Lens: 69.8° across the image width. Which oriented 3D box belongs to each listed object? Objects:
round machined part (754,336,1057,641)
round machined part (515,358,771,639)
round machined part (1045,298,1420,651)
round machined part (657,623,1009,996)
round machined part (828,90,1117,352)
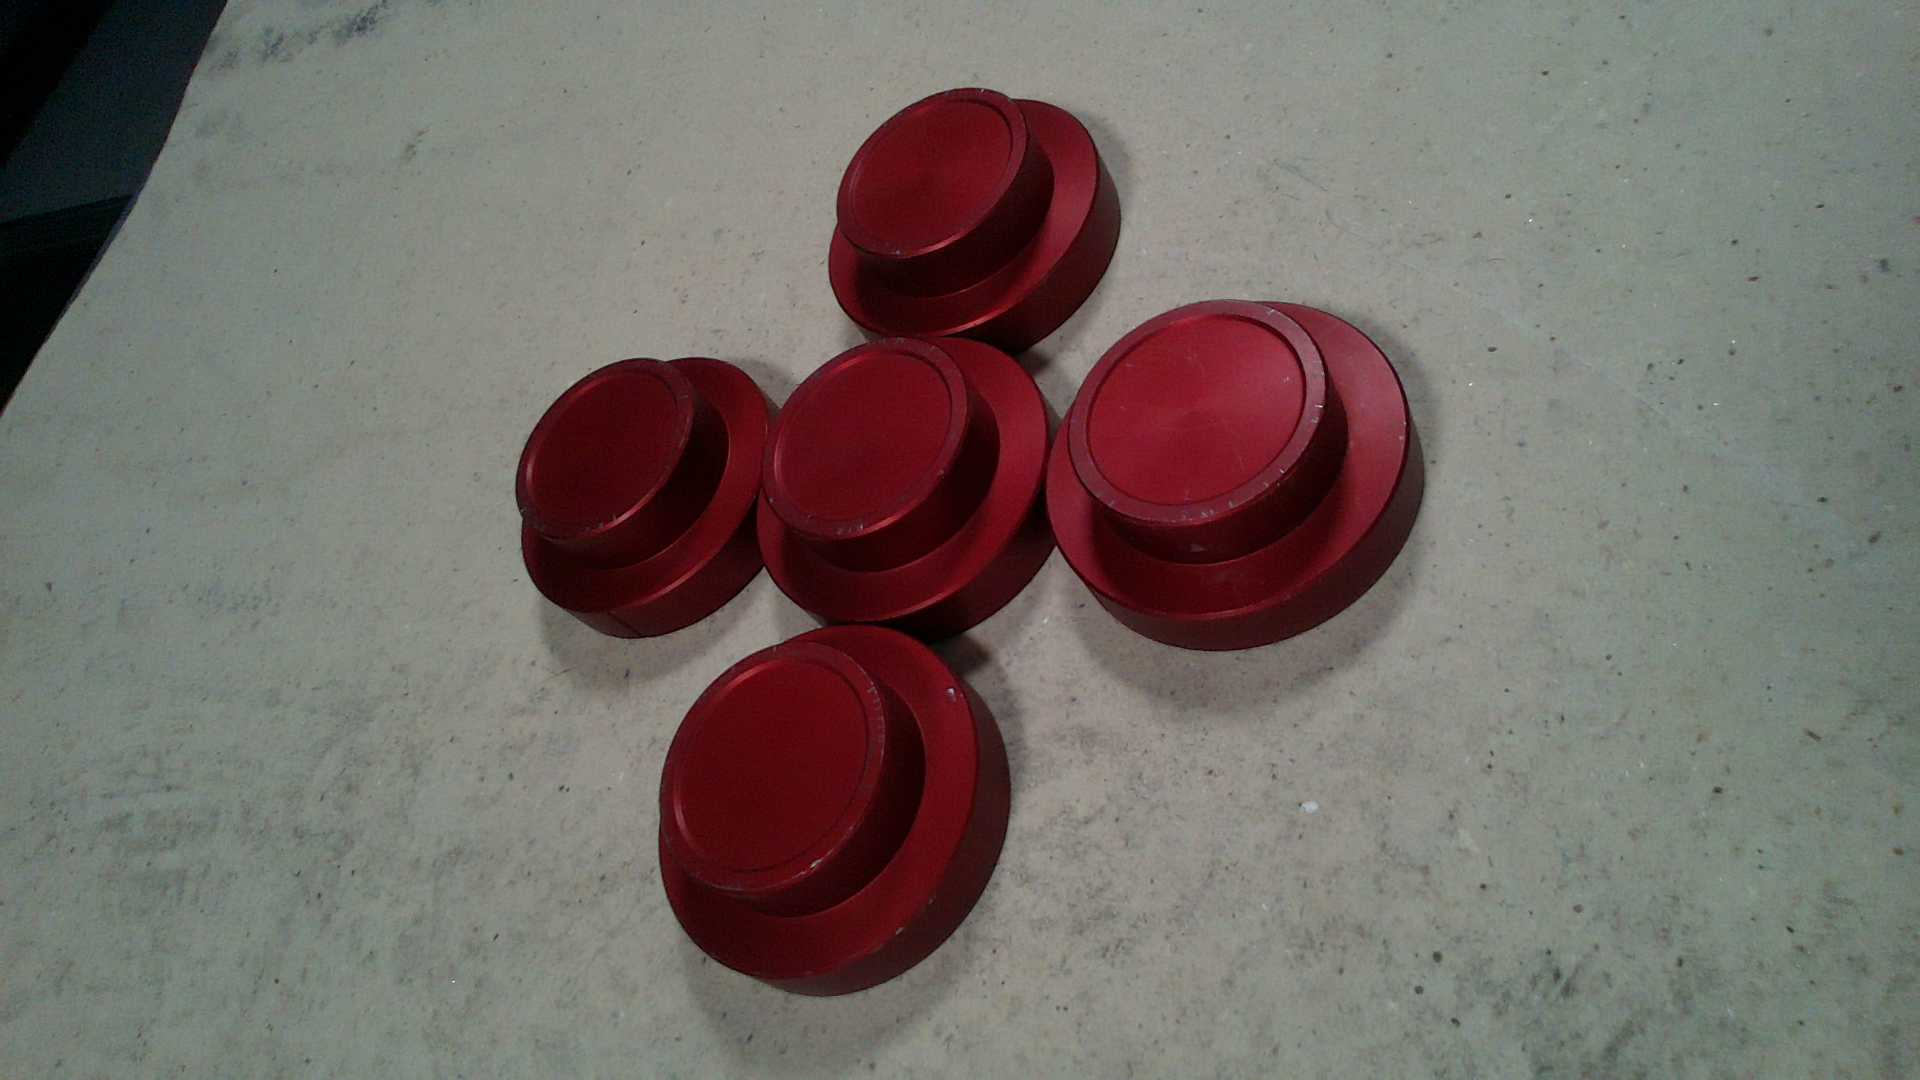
[{"bbox_3d":[-0.020,-0.021,0.407,0.098,0.042,0.098,-13,56,21],"label":"round machined part"},{"bbox_3d":[-0.106,-0.020,0.453,0.098,0.042,0.098,-13,56,21],"label":"round machined part"},{"bbox_3d":[0.067,-0.024,0.361,0.098,0.042,0.098,-13,56,21],"label":"round machined part"},{"bbox_3d":[-0.040,0.066,0.364,0.098,0.042,0.098,-13,56,21],"label":"round machined part"},{"bbox_3d":[-0.001,-0.107,0.450,0.098,0.042,0.098,-13,56,21],"label":"round machined part"}]
